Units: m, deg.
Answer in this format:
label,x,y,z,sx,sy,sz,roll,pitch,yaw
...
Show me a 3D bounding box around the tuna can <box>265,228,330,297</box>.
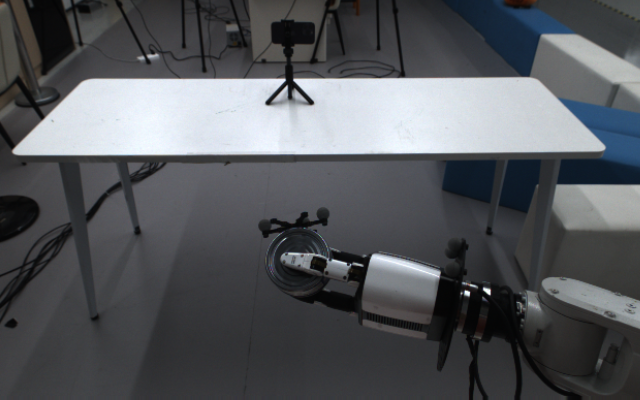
label,x,y,z,sx,sy,sz,roll,pitch,yaw
tuna can,-0.022,0.085,0.616,0.085,0.034,0.085,-4,67,9
